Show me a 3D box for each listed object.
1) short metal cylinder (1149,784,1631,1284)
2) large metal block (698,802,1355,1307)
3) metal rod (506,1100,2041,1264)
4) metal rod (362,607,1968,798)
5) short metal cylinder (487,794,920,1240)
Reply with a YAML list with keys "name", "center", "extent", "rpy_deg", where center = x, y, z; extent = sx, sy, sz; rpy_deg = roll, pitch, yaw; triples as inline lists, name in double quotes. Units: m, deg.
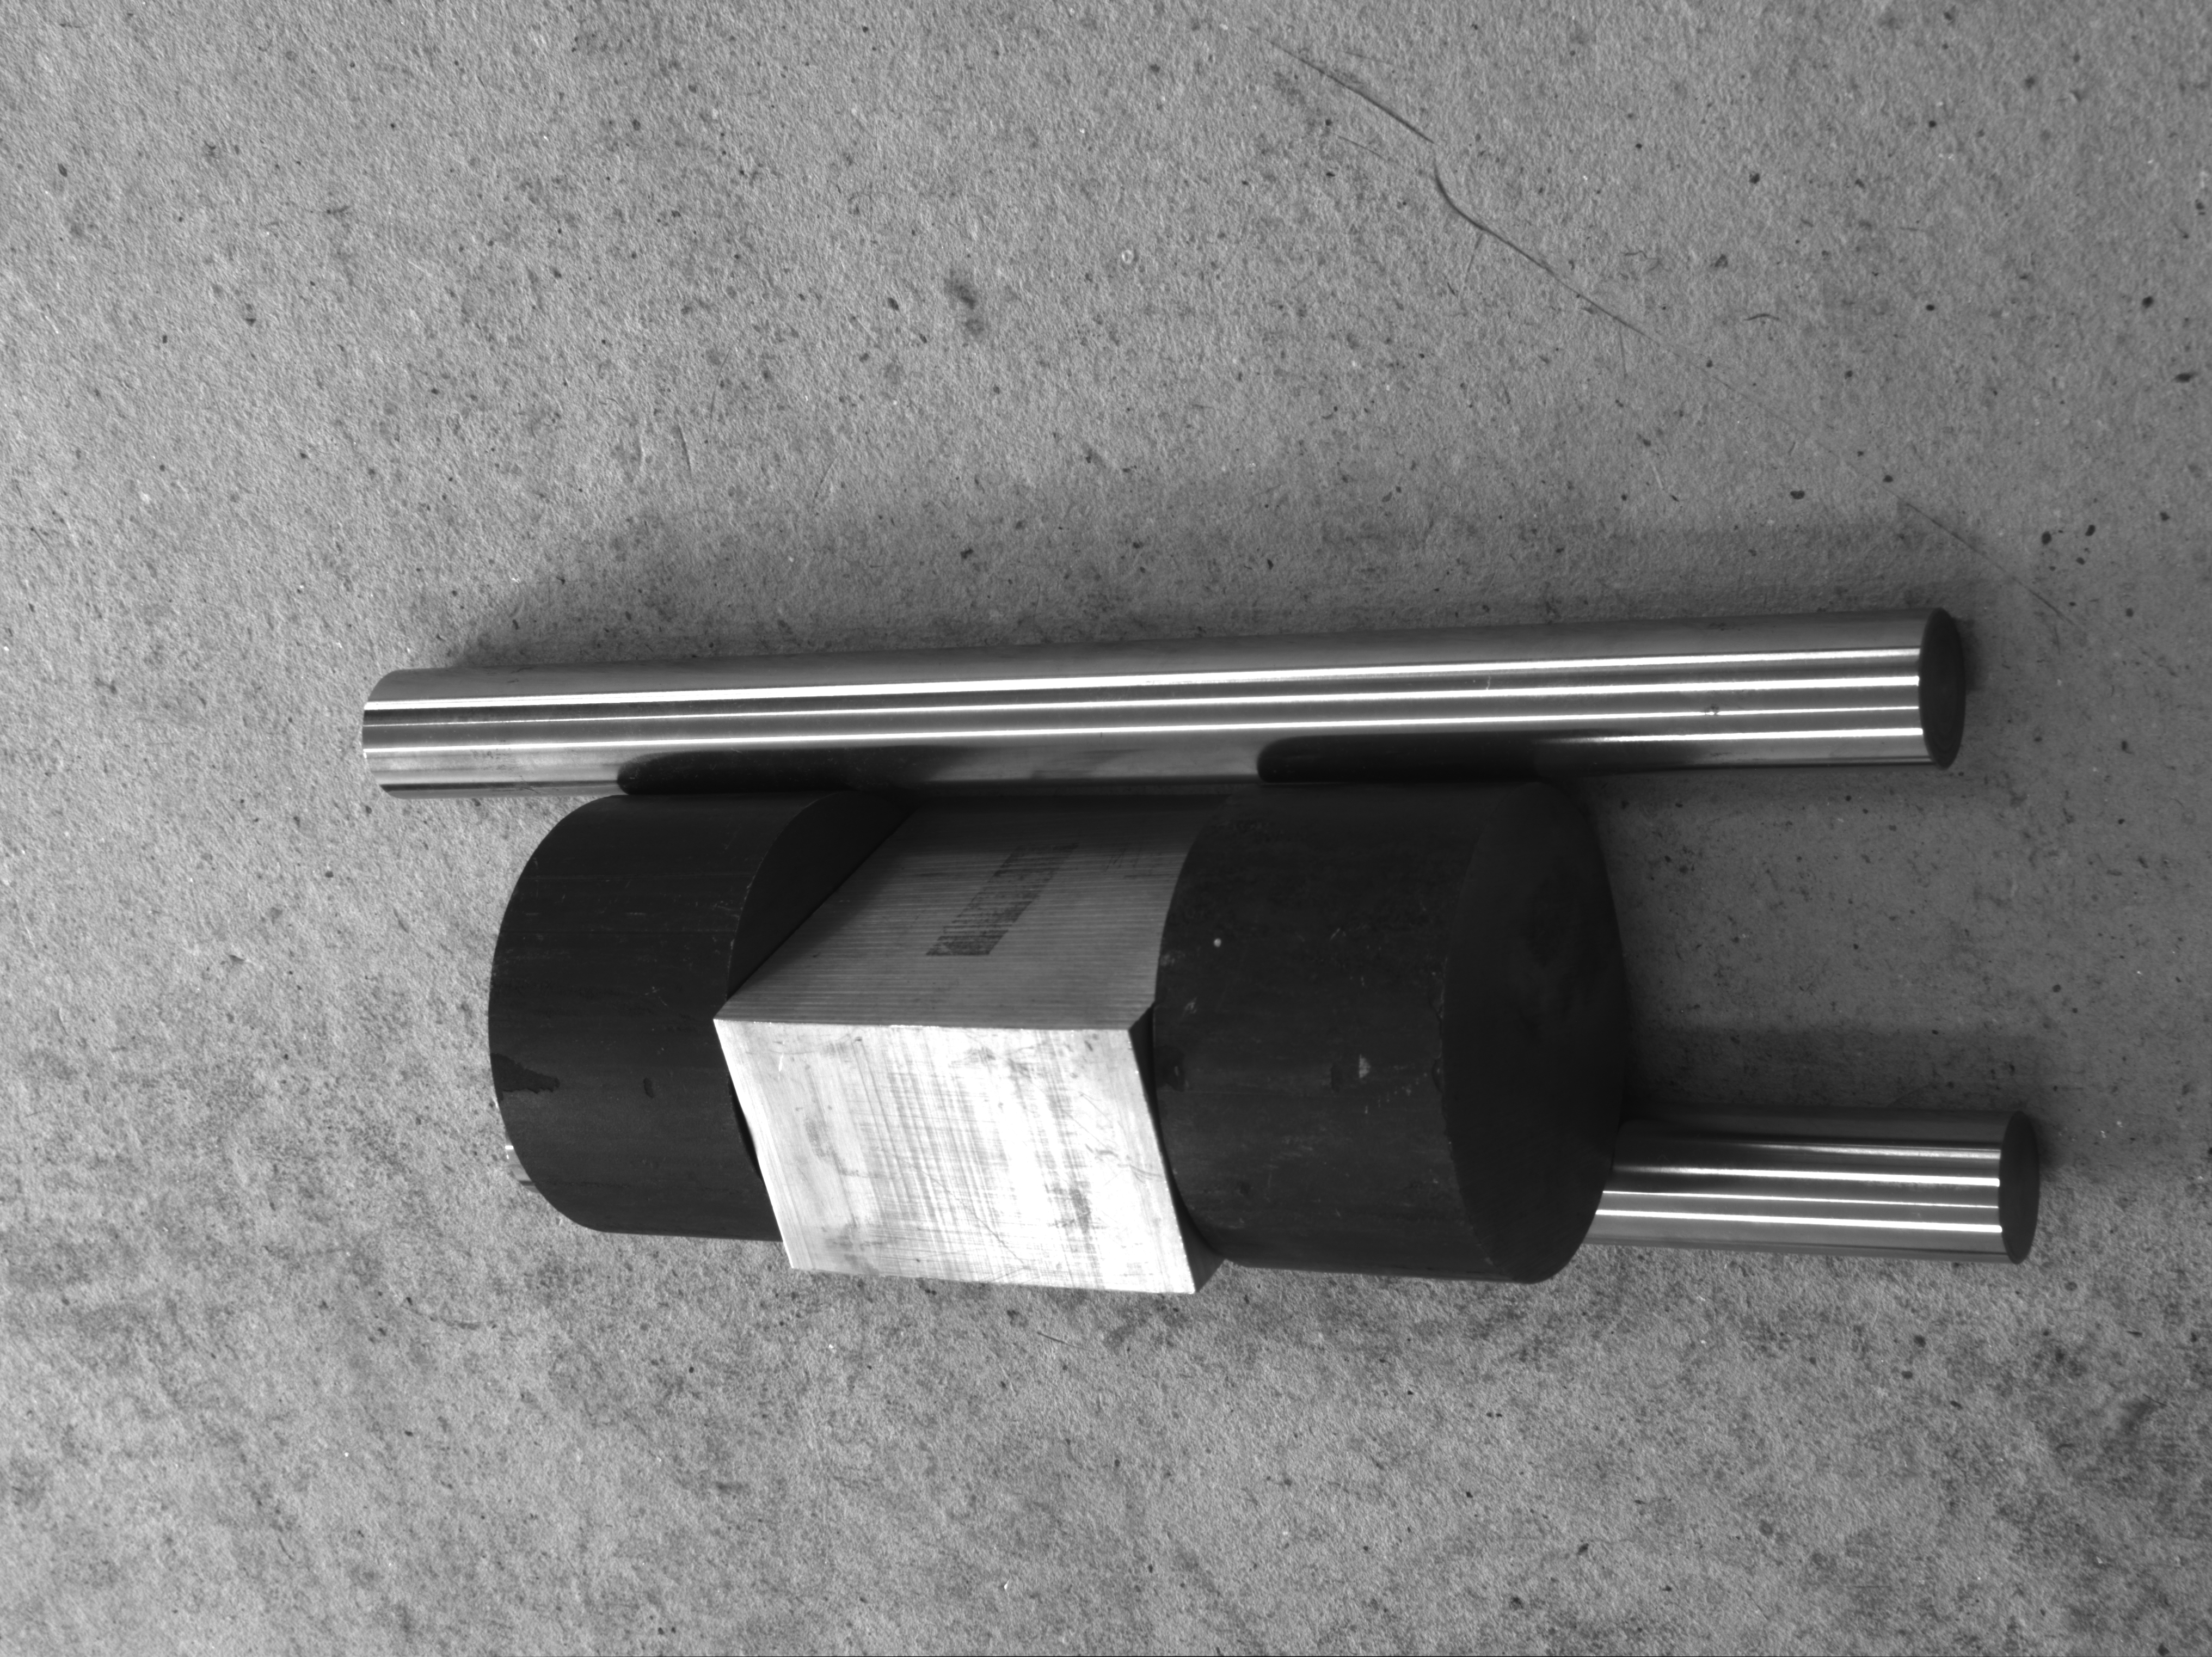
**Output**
- name: "short metal cylinder"
  center: [0.048, 0.033, 0.602]
  extent: [0.050, 0.080, 0.080]
  rpy_deg: [-1, 118, 29]
- name: "large metal block"
  center: [-0.010, 0.036, 0.632]
  extent: [0.080, 0.080, 0.050]
  rpy_deg: [0, 118, 28]
- name: "metal rod"
  center: [0.018, 0.060, 0.671]
  extent: [0.299, 0.025, 0.025]
  rpy_deg: [-1, 118, 29]
- name: "metal rod"
  center: [-0.003, -0.020, 0.633]
  extent: [0.299, 0.025, 0.025]
  rpy_deg: [-1, 118, 29]
- name: "short metal cylinder"
  center: [-0.067, 0.034, 0.664]
  extent: [0.050, 0.080, 0.080]
  rpy_deg: [-1, 118, 29]
